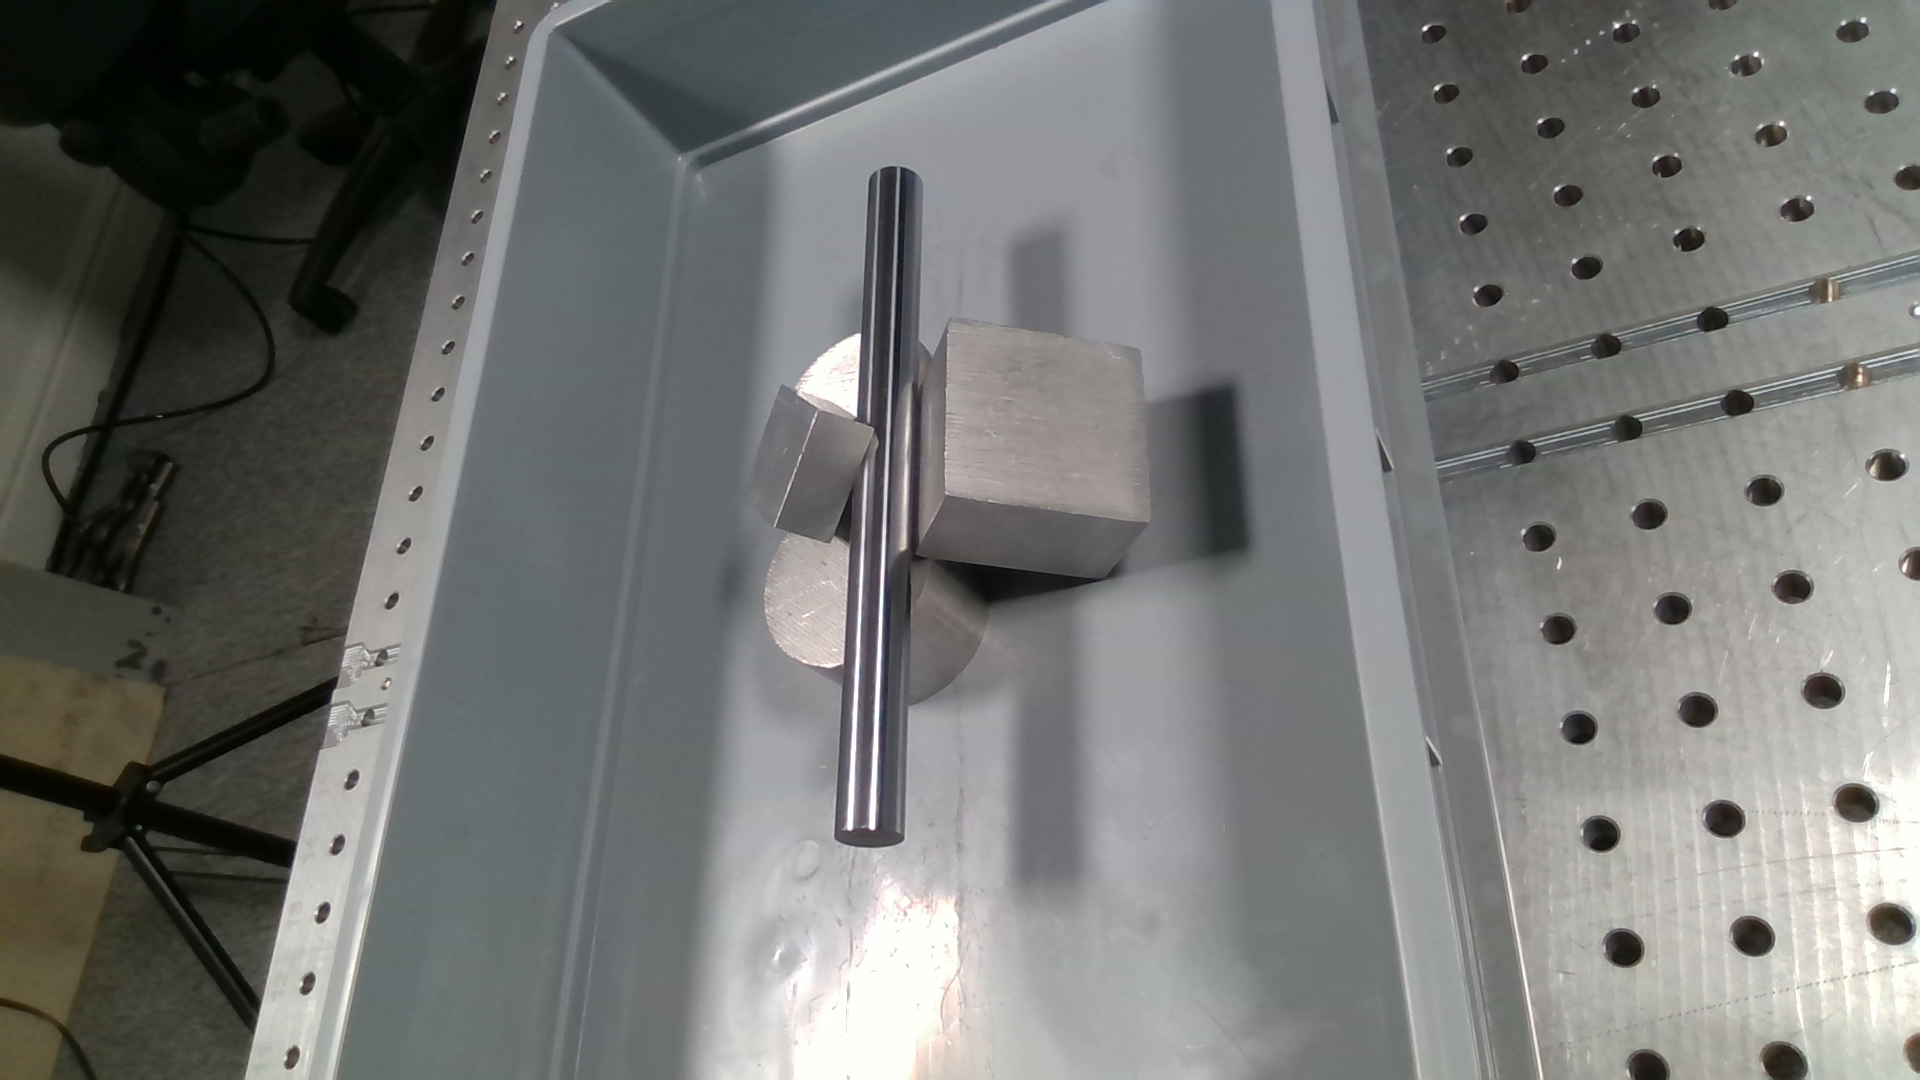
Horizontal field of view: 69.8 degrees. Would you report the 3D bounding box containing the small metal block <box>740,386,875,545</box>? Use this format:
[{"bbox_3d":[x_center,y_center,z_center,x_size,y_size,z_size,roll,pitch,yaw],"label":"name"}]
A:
[{"bbox_3d":[-0.063,-0.031,0.561,0.050,0.025,0.050,35,106,60],"label":"small metal block"}]

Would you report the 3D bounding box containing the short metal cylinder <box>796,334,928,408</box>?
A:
[{"bbox_3d":[-0.033,-0.047,0.614,0.080,0.050,0.080,-14,59,25],"label":"short metal cylinder"}]

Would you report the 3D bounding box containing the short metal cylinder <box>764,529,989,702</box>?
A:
[{"bbox_3d":[-0.035,0.024,0.577,0.080,0.050,0.080,-14,59,25],"label":"short metal cylinder"}]

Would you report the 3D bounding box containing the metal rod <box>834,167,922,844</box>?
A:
[{"bbox_3d":[-0.031,-0.028,0.553,0.025,0.025,0.299,-14,59,25],"label":"metal rod"}]

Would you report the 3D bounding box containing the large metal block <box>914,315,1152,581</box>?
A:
[{"bbox_3d":[0.027,-0.035,0.543,0.080,0.050,0.080,8,62,-13],"label":"large metal block"}]
